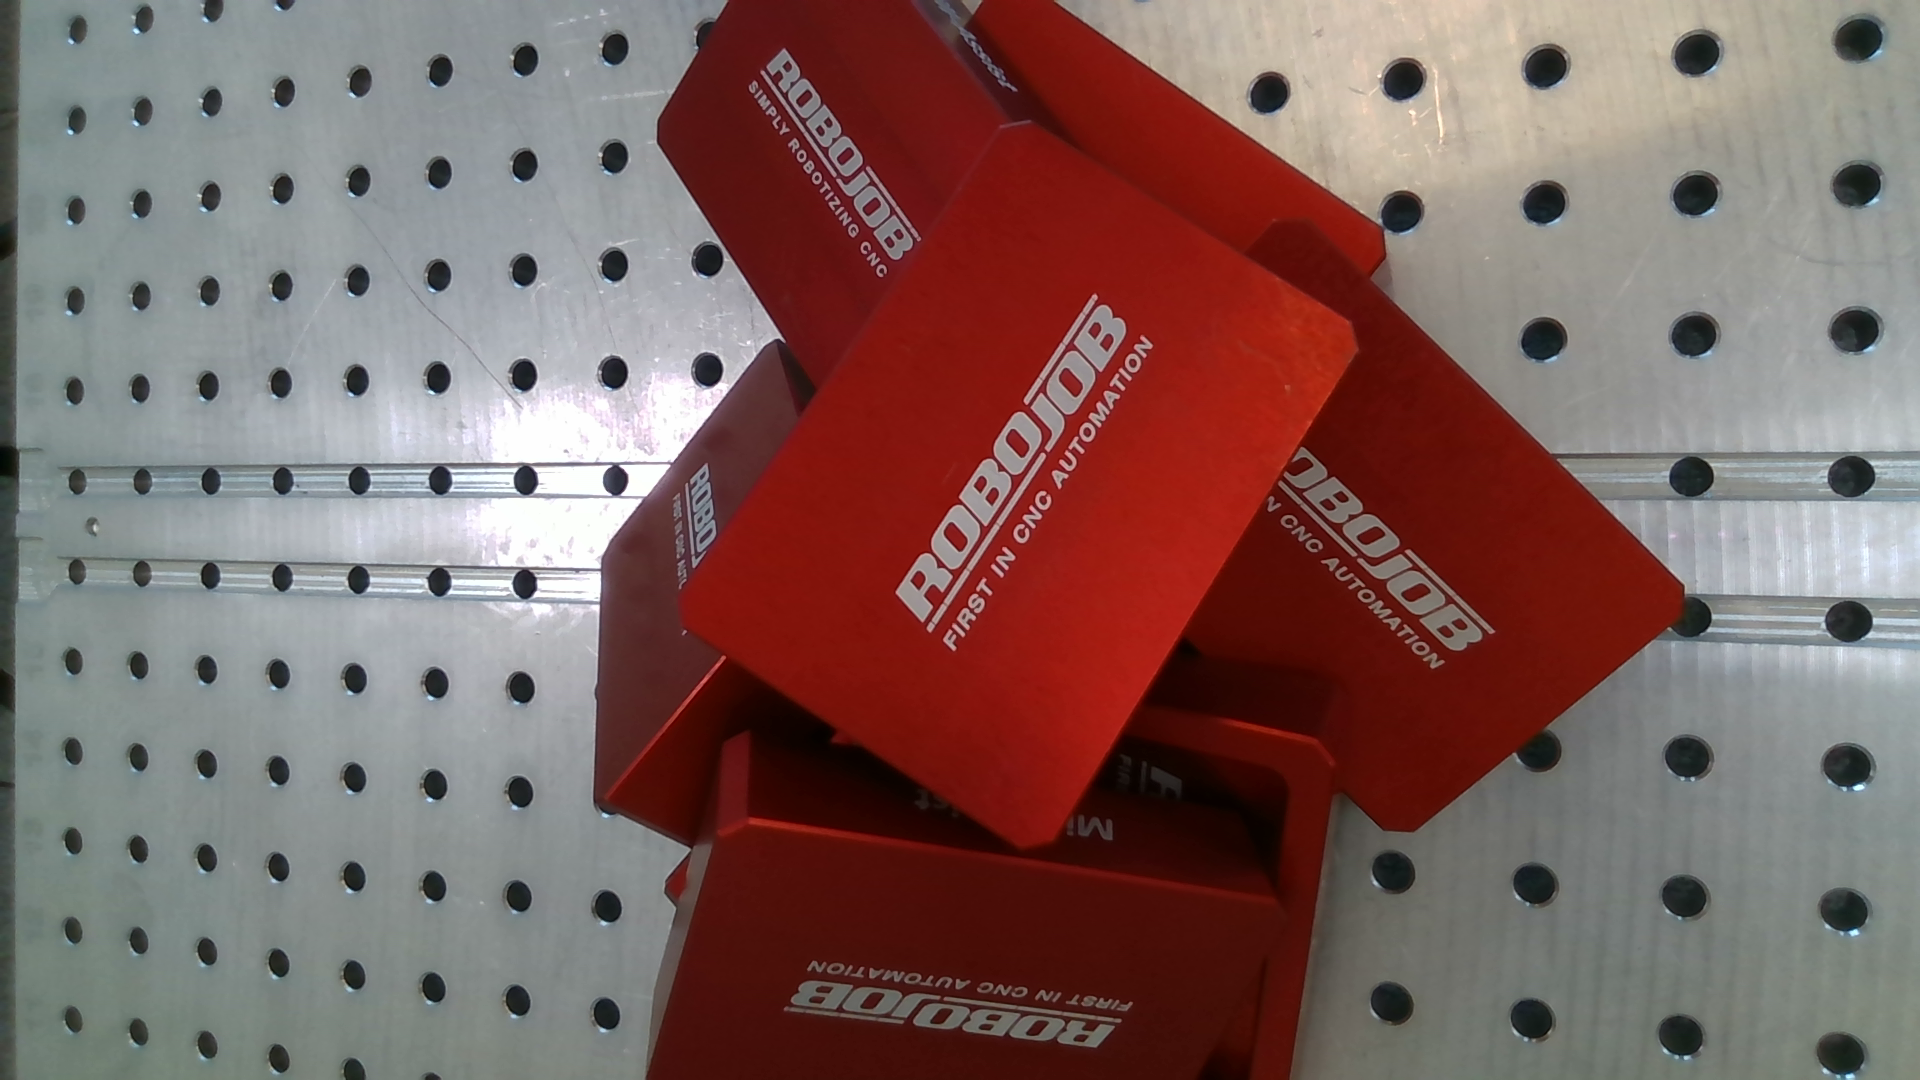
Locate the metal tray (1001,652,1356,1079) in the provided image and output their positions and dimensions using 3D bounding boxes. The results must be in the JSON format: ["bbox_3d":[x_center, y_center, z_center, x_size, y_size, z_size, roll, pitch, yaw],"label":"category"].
[{"bbox_3d":[0.045,0.092,0.354,0.090,0.030,0.130,11,114,19],"label":"metal tray"}]

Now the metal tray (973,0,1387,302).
[{"bbox_3d":[0.039,-0.079,0.378,0.130,0.030,0.090,40,103,15],"label":"metal tray"}]

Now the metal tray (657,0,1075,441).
[{"bbox_3d":[-0.025,-0.102,0.378,0.090,0.030,0.130,-48,63,30],"label":"metal tray"}]

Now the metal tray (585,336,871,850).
[{"bbox_3d":[-0.060,0.008,0.369,0.030,0.130,0.090,34,106,-26],"label":"metal tray"}]

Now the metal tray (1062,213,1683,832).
[{"bbox_3d":[0.094,-0.004,0.339,0.130,0.030,0.090,45,107,0],"label":"metal tray"}]

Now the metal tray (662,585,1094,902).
[{"bbox_3d":[-0.009,0.053,0.366,0.030,0.090,0.130,46,104,15],"label":"metal tray"}]

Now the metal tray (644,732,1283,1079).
[{"bbox_3d":[-0.002,0.099,0.328,0.130,0.030,0.090,12,120,-14],"label":"metal tray"}]

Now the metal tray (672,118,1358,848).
[{"bbox_3d":[0.012,-0.013,0.295,0.090,0.030,0.130,33,81,3],"label":"metal tray"}]
